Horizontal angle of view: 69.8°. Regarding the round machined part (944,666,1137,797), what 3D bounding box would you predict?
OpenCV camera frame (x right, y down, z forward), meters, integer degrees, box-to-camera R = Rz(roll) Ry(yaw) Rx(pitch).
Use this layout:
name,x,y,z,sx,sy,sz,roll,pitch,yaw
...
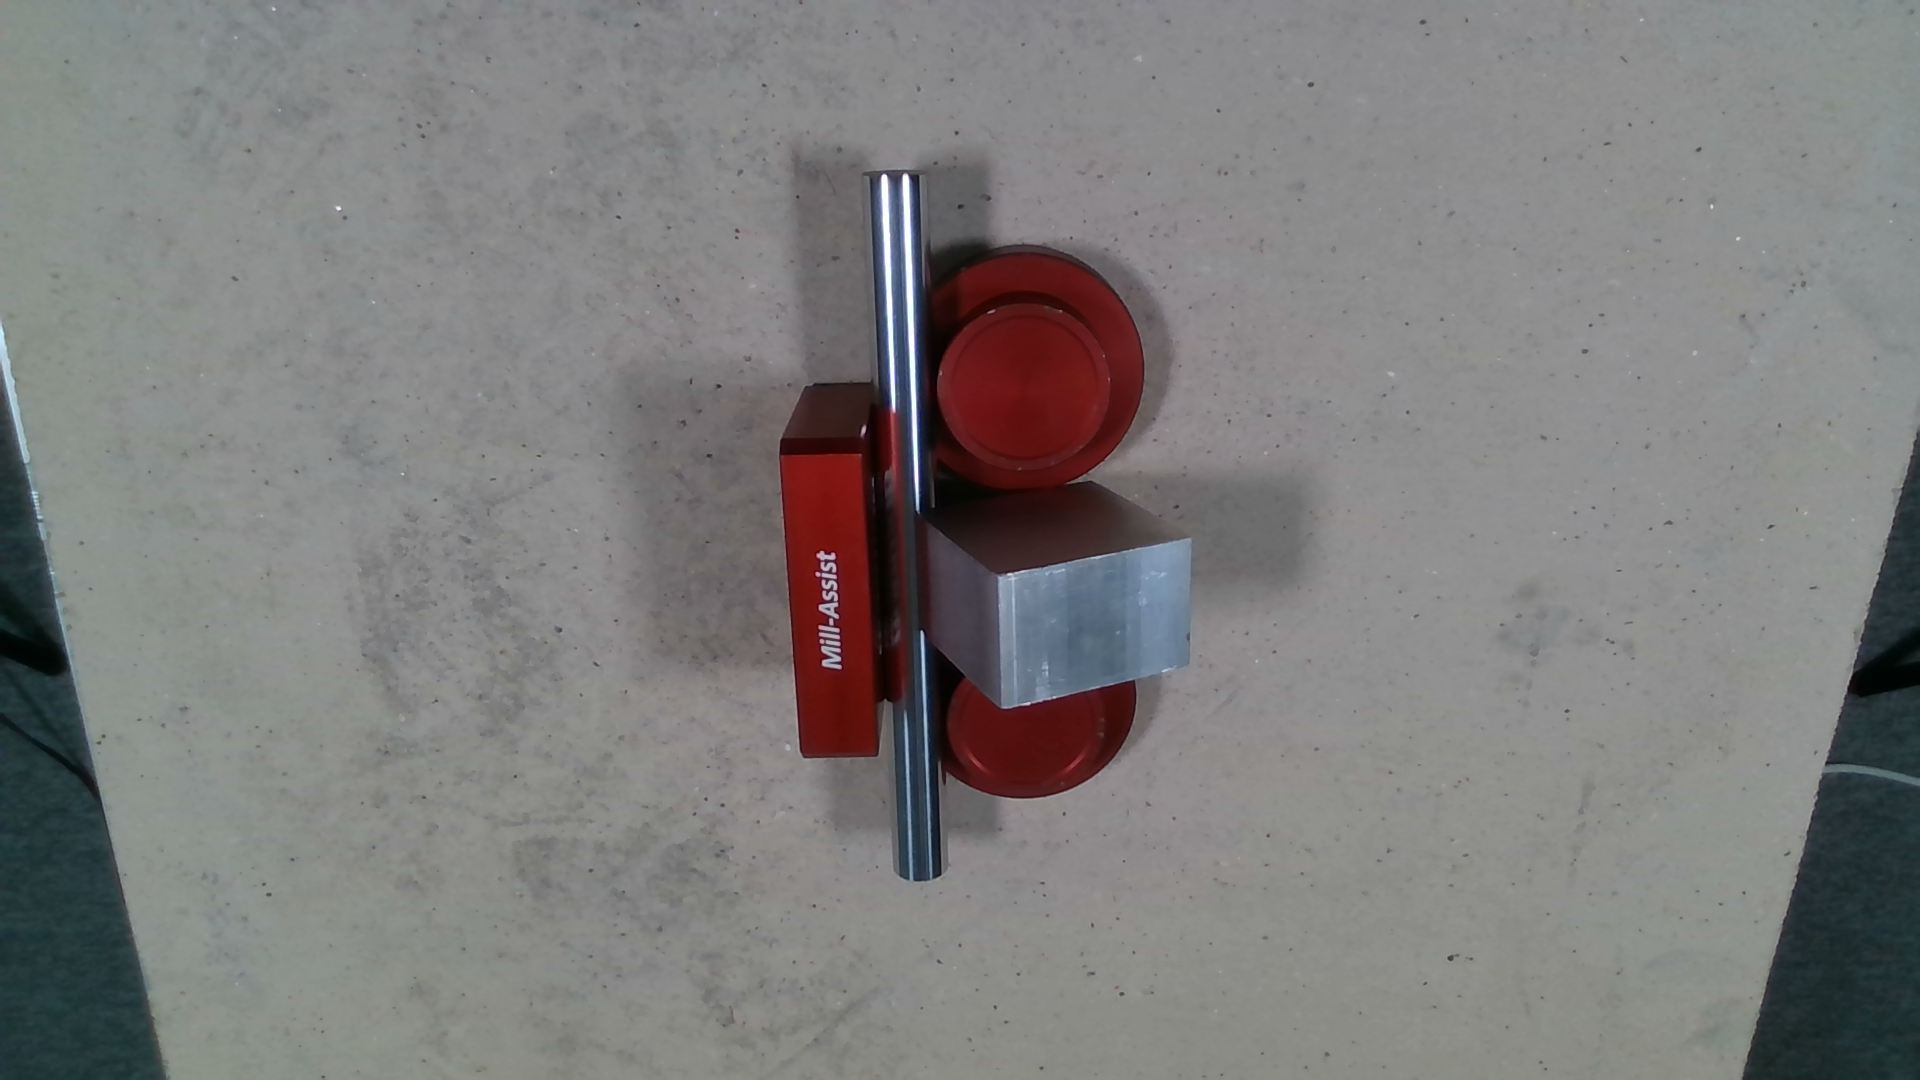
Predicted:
name,x,y,z,sx,sy,sz,roll,pitch,yaw
round machined part,0.028,0.071,0.601,0.098,0.042,0.098,0,110,0

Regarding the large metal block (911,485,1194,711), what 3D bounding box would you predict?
name,x,y,z,sx,sy,sz,roll,pitch,yaw
large metal block,0.034,0.019,0.534,0.080,0.080,0.050,-11,112,-21

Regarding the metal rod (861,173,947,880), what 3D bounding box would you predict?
name,x,y,z,sx,sy,sz,roll,pitch,yaw
metal rod,-0.021,0.004,0.564,0.025,0.025,0.301,-1,110,1

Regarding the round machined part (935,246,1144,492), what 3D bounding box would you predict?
name,x,y,z,sx,sy,sz,roll,pitch,yaw
round machined part,0.024,-0.065,0.549,0.098,0.042,0.098,0,110,0

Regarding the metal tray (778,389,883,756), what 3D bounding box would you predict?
name,x,y,z,sx,sy,sz,roll,pitch,yaw
metal tray,-0.049,0.010,0.554,0.030,0.090,0.130,-1,110,1
